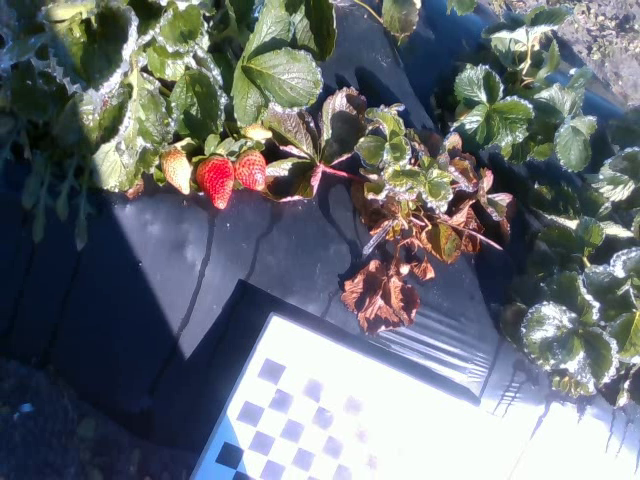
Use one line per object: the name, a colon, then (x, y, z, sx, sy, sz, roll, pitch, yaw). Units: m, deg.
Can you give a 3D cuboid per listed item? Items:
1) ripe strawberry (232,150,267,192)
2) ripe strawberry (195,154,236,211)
ripe strawberry: (-0.061, -0.064, 0.563, 0.036, 0.041, 0.030, -36, 8, -5)
ripe strawberry: (-0.090, -0.047, 0.541, 0.036, 0.052, 0.040, -12, -27, -11)
